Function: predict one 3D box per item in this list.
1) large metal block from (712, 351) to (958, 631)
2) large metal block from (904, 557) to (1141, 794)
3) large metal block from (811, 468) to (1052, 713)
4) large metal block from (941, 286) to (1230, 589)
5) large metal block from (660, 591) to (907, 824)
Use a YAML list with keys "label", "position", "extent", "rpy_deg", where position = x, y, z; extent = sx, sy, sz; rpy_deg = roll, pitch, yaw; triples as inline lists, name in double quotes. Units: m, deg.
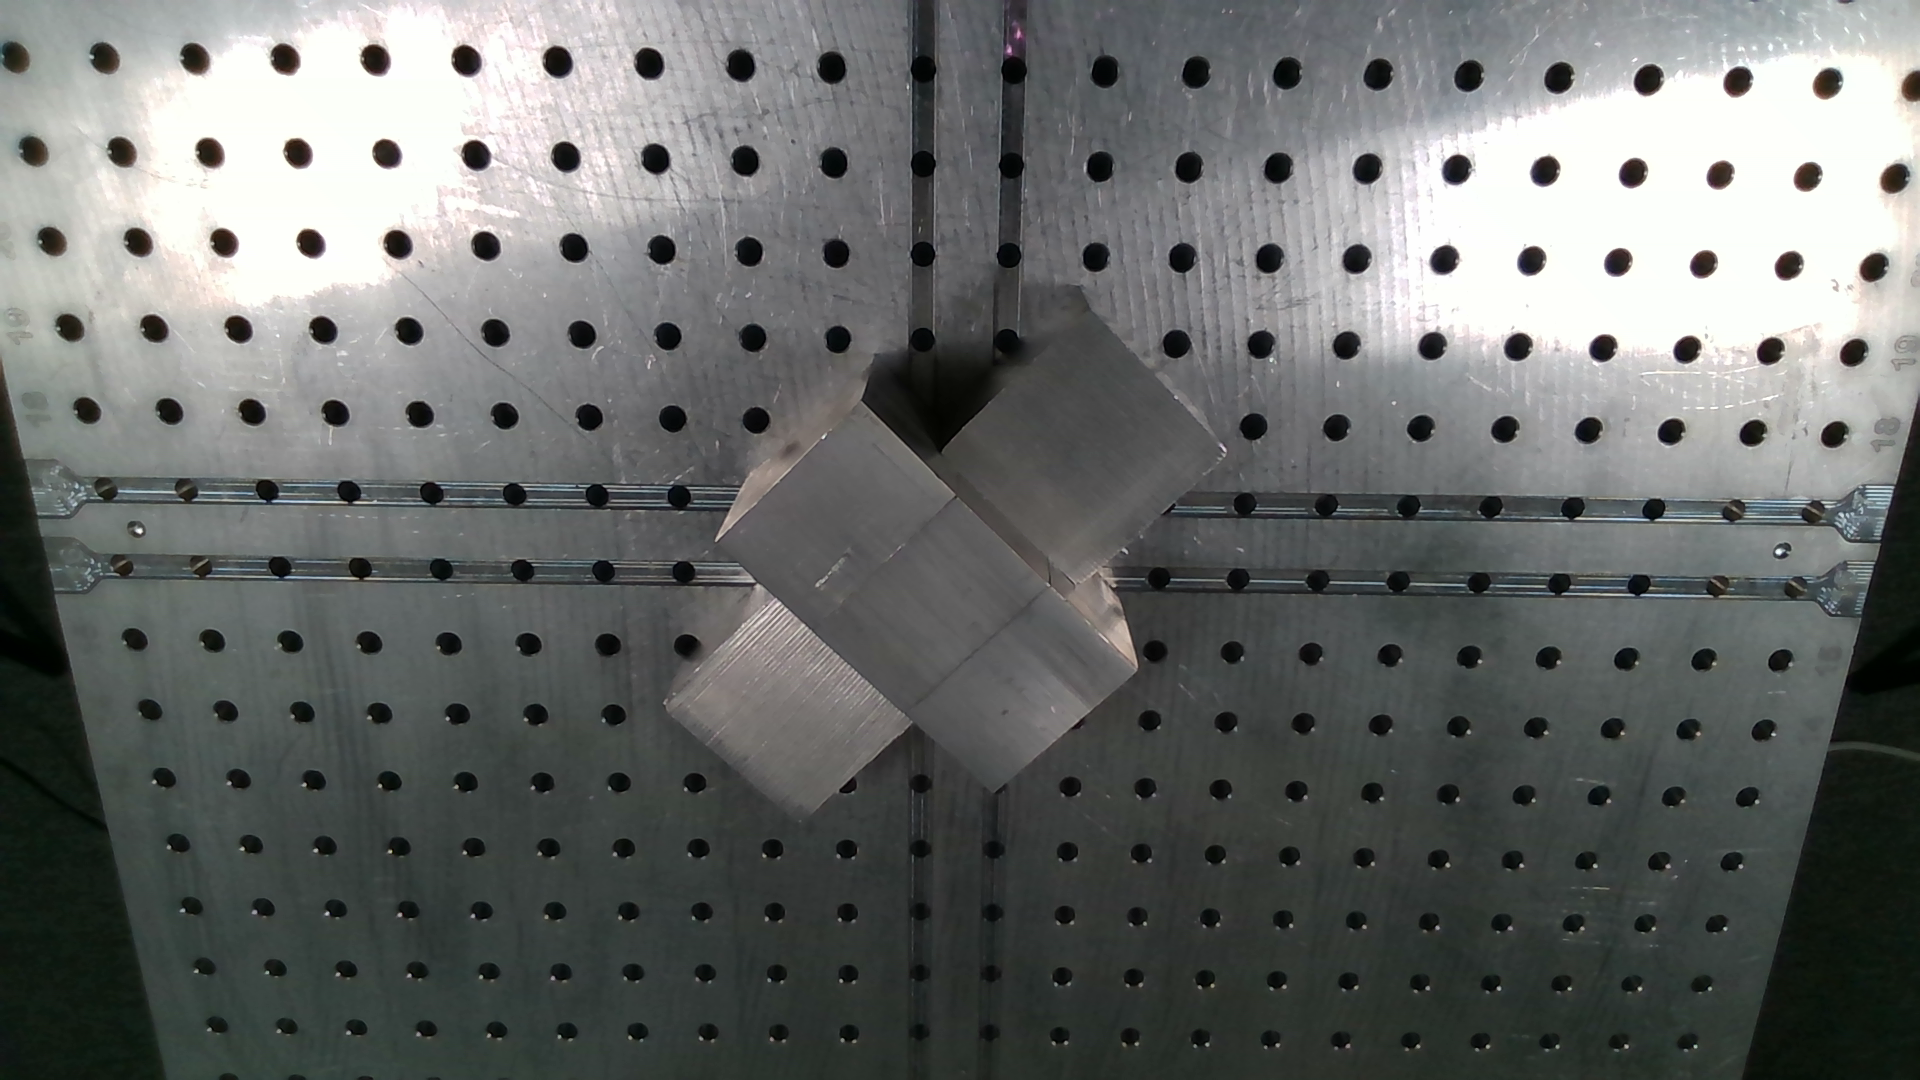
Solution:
- label: "large metal block"
  position: [-0.047, -0.022, 0.550]
  extent: [0.080, 0.080, 0.050]
  rpy_deg: [-42, 105, 14]
- label: "large metal block"
  position: [0.024, 0.045, 0.575]
  extent: [0.080, 0.080, 0.050]
  rpy_deg: [-42, 105, 14]
- label: "large metal block"
  position: [-0.011, 0.011, 0.563]
  extent: [0.080, 0.080, 0.050]
  rpy_deg: [-42, 105, 14]
- label: "large metal block"
  position: [0.048, -0.042, 0.555]
  extent: [0.080, 0.050, 0.080]
  rpy_deg: [43, 105, -13]
- label: "large metal block"
  position: [-0.068, 0.060, 0.596]
  extent: [0.080, 0.050, 0.080]
  rpy_deg: [-42, 104, 14]
